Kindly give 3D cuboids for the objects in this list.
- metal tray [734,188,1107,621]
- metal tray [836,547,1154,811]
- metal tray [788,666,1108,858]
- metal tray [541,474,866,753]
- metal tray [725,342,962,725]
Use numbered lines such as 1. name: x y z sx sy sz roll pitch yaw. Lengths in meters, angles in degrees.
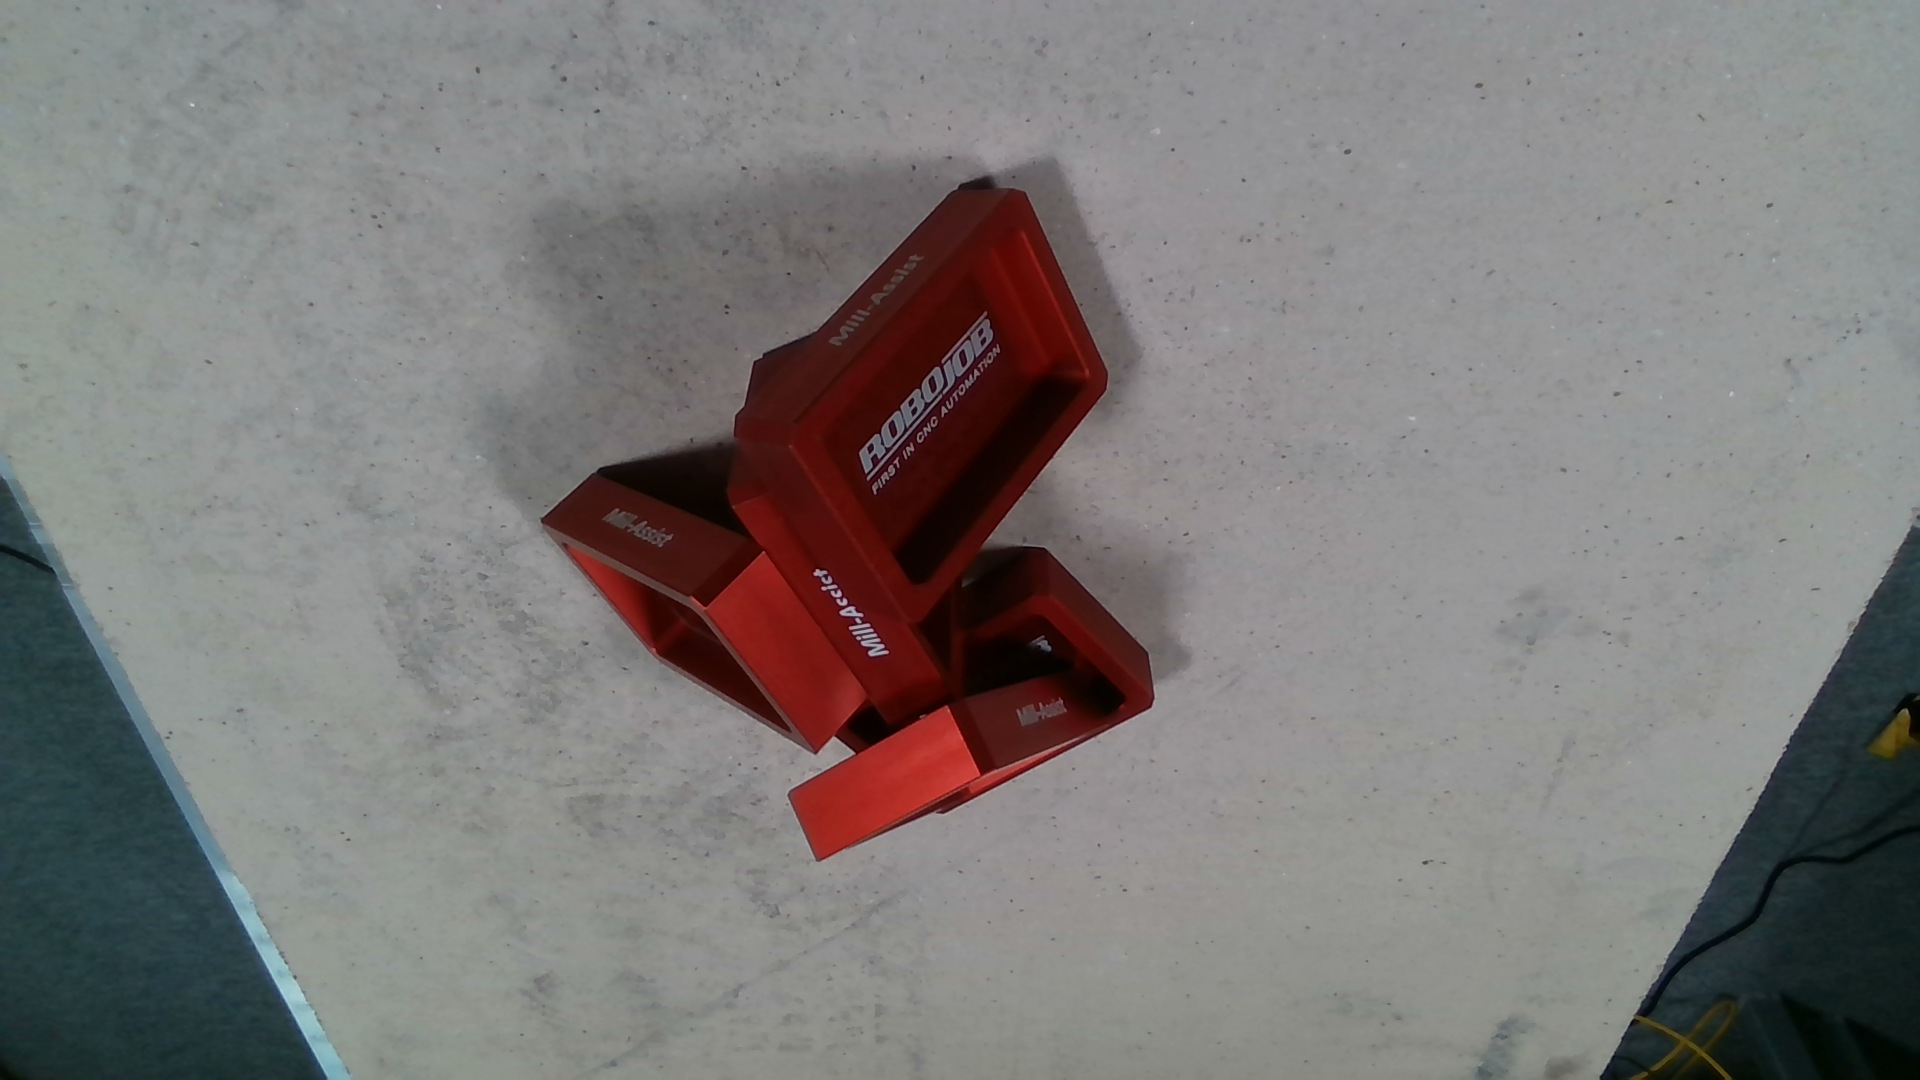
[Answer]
1. metal tray: -0.008 -0.048 0.477 0.030 0.130 0.090 12 144 43
2. metal tray: 0.011 0.068 0.633 0.130 0.030 0.090 -31 123 24
3. metal tray: -0.001 0.091 0.584 0.090 0.030 0.130 -31 168 24
4. metal tray: -0.103 0.026 0.545 0.130 0.030 0.090 19 148 47
5. metal tray: -0.040 -0.003 0.534 0.030 0.090 0.130 -20 127 16
